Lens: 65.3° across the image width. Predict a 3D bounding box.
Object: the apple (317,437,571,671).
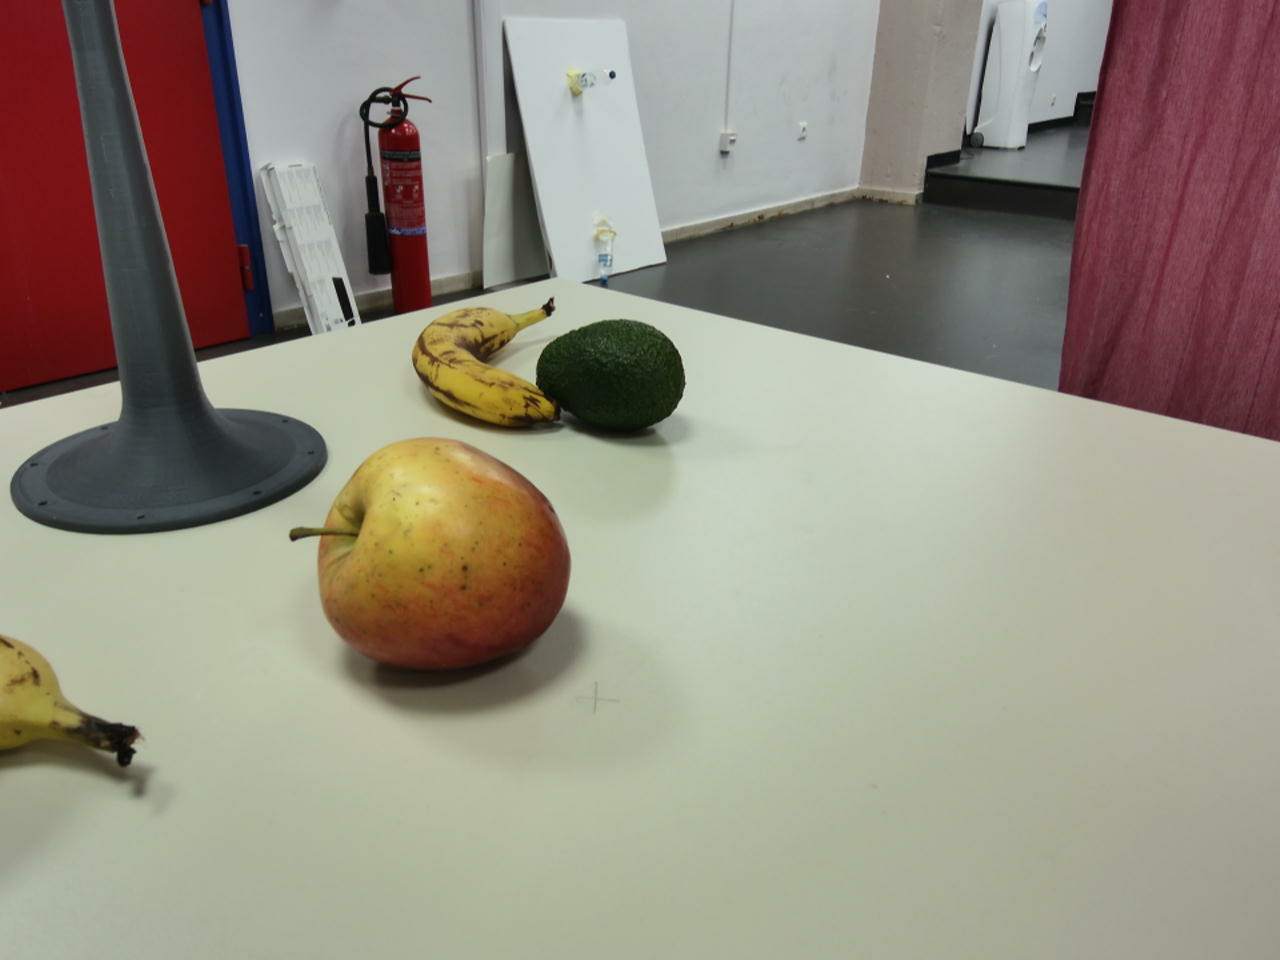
[{"bbox_3d":[-0.074,0.029,0.374,0.093,0.084,0.086,1,22,3],"label":"apple"}]
